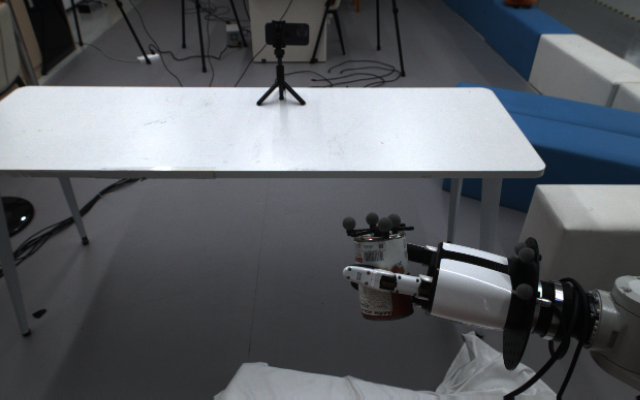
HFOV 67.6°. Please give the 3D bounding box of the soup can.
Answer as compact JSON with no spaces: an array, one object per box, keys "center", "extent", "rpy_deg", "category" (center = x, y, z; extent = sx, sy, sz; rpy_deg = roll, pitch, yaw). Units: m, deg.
[{"center":[0.082,0.092,0.612],"extent":[0.067,0.101,0.067],"rpy_deg":[-6,3,0],"category":"soup can"}]
